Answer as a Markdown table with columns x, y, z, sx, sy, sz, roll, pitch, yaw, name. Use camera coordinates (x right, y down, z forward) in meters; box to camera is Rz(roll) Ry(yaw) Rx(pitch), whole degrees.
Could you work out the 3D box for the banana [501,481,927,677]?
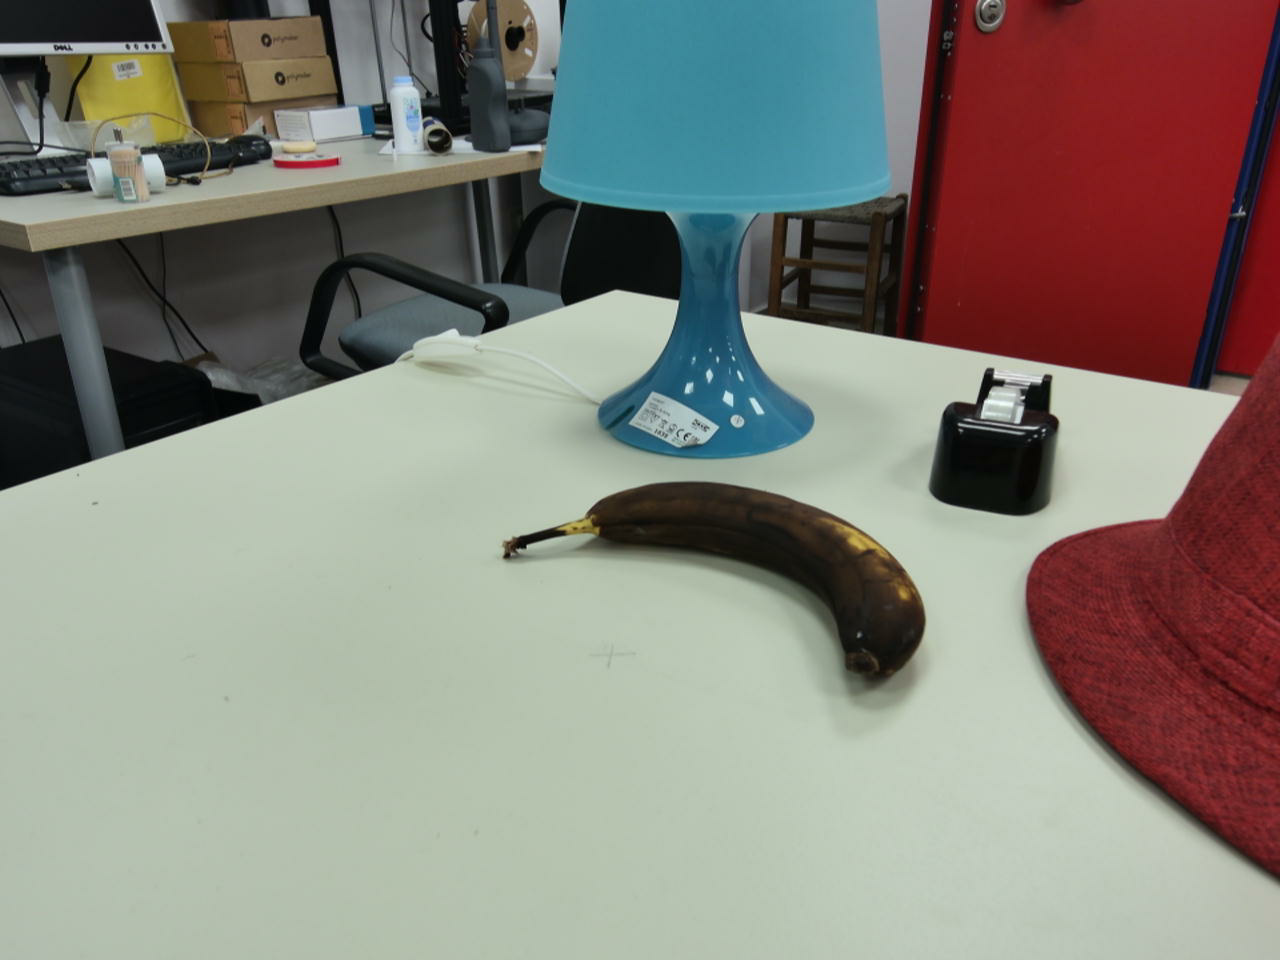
| x | y | z | sx | sy | sz | roll | pitch | yaw | name |
| --- | --- | --- | --- | --- | --- | --- | --- | --- | --- |
| 0.039 | 0.029 | 0.424 | 0.188 | 0.034 | 0.091 | 18 | 29 | 37 | banana |
